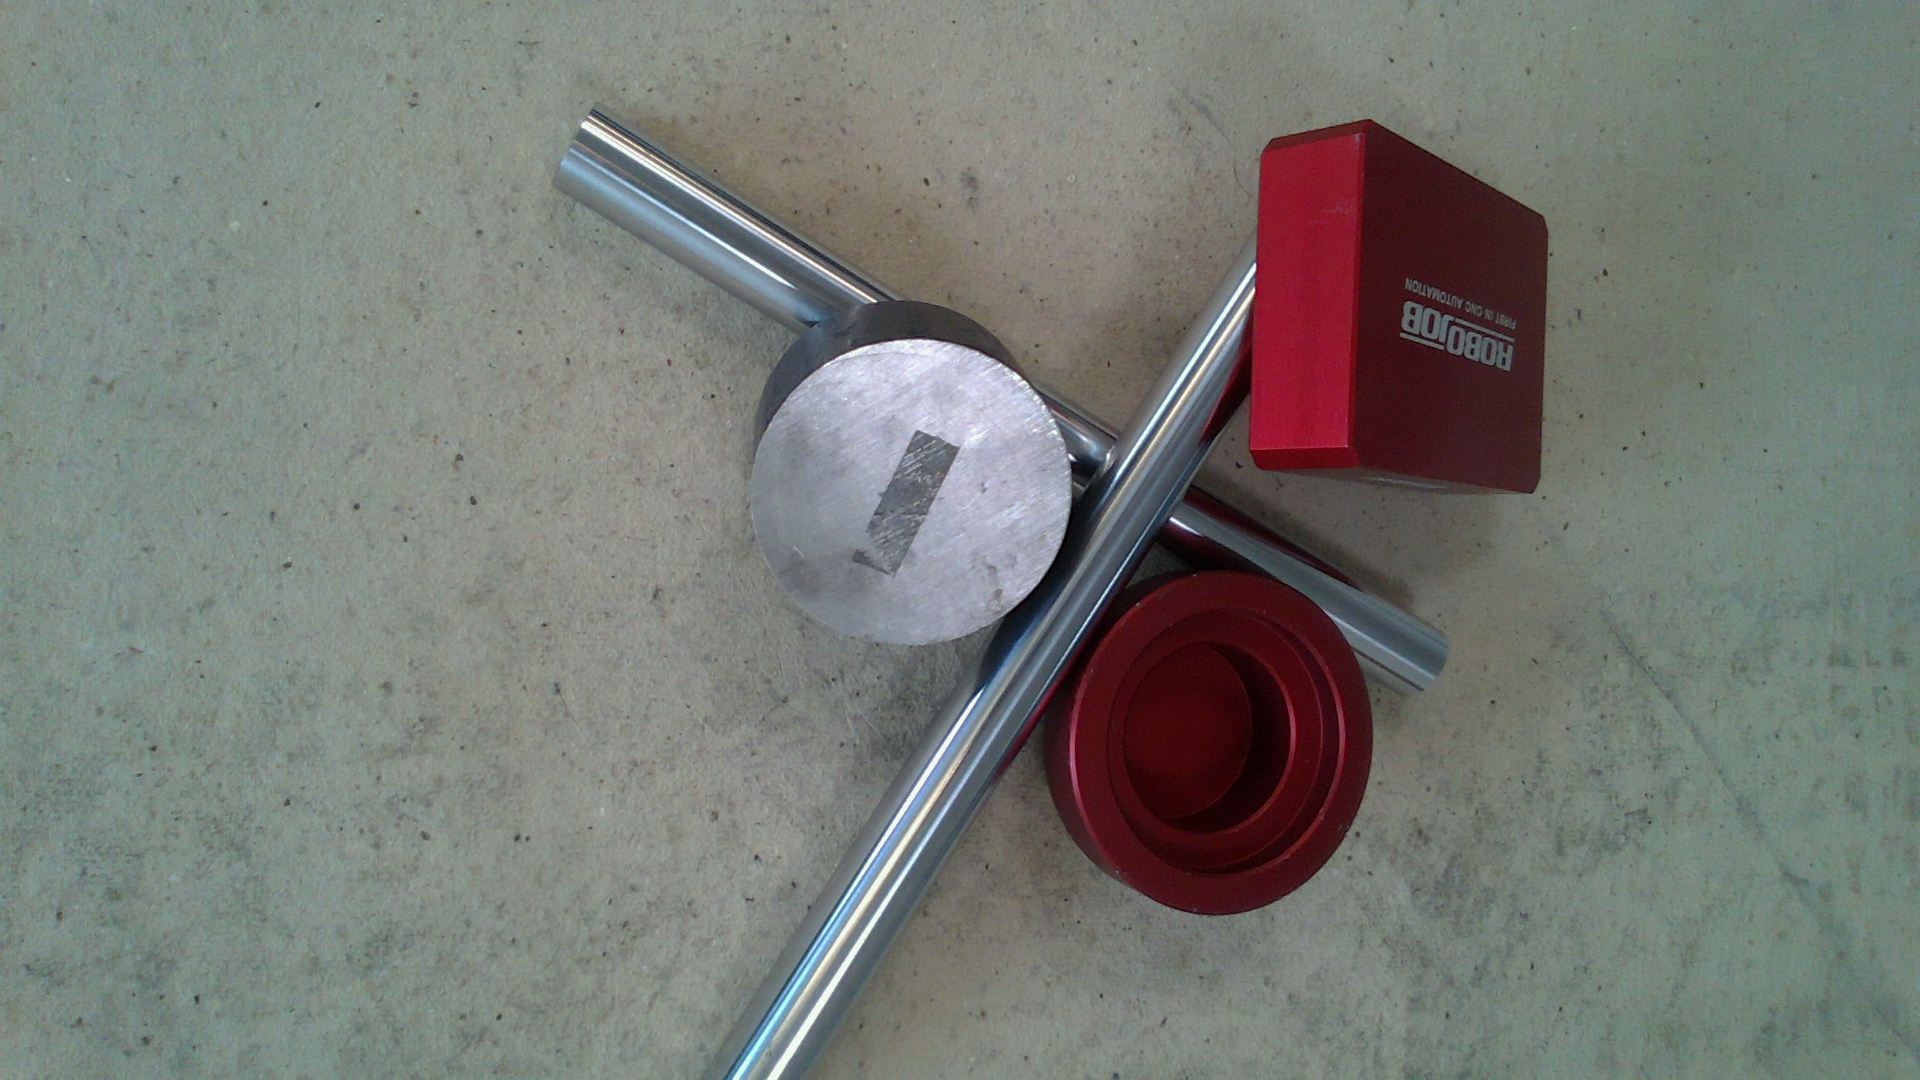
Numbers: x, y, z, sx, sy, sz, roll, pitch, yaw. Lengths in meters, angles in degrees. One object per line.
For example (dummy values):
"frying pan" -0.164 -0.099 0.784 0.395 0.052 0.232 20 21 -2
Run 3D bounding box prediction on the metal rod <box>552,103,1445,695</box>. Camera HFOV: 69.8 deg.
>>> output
"metal rod" 0.024 -0.032 0.403 0.301 0.025 0.025 30 80 -18

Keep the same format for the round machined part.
"round machined part" 0.069 0.058 0.410 0.098 0.042 0.098 0 90 -20

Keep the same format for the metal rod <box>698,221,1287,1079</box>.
"metal rod" 0.018 0.033 0.382 0.025 0.025 0.300 35 85 -17

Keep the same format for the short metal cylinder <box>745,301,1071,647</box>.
"short metal cylinder" -0.015 -0.019 0.361 0.080 0.050 0.080 -3 110 -7

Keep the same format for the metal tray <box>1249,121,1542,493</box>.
"metal tray" 0.134 -0.062 0.410 0.131 0.030 0.090 3 89 -48
